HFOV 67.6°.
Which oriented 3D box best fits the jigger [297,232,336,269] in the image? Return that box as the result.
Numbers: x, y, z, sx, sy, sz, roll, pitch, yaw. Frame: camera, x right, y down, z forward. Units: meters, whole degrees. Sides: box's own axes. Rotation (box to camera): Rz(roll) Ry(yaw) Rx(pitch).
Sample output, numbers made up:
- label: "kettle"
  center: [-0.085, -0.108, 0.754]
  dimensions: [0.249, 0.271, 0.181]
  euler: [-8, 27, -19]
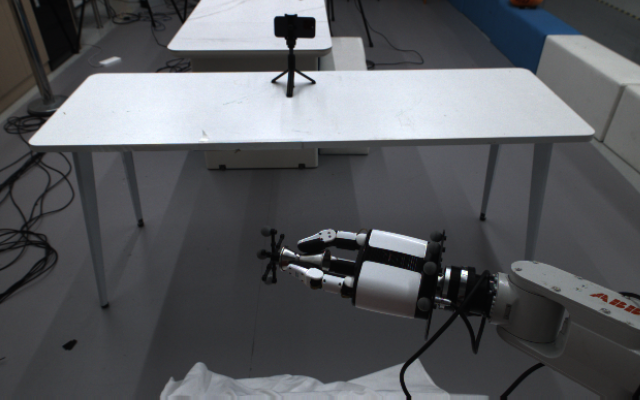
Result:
- label: "jigger"
  center: [-0.016, 0.089, 0.725]
  dimensions: [0.071, 0.043, 0.043]
  euler: [5, 34, 17]
